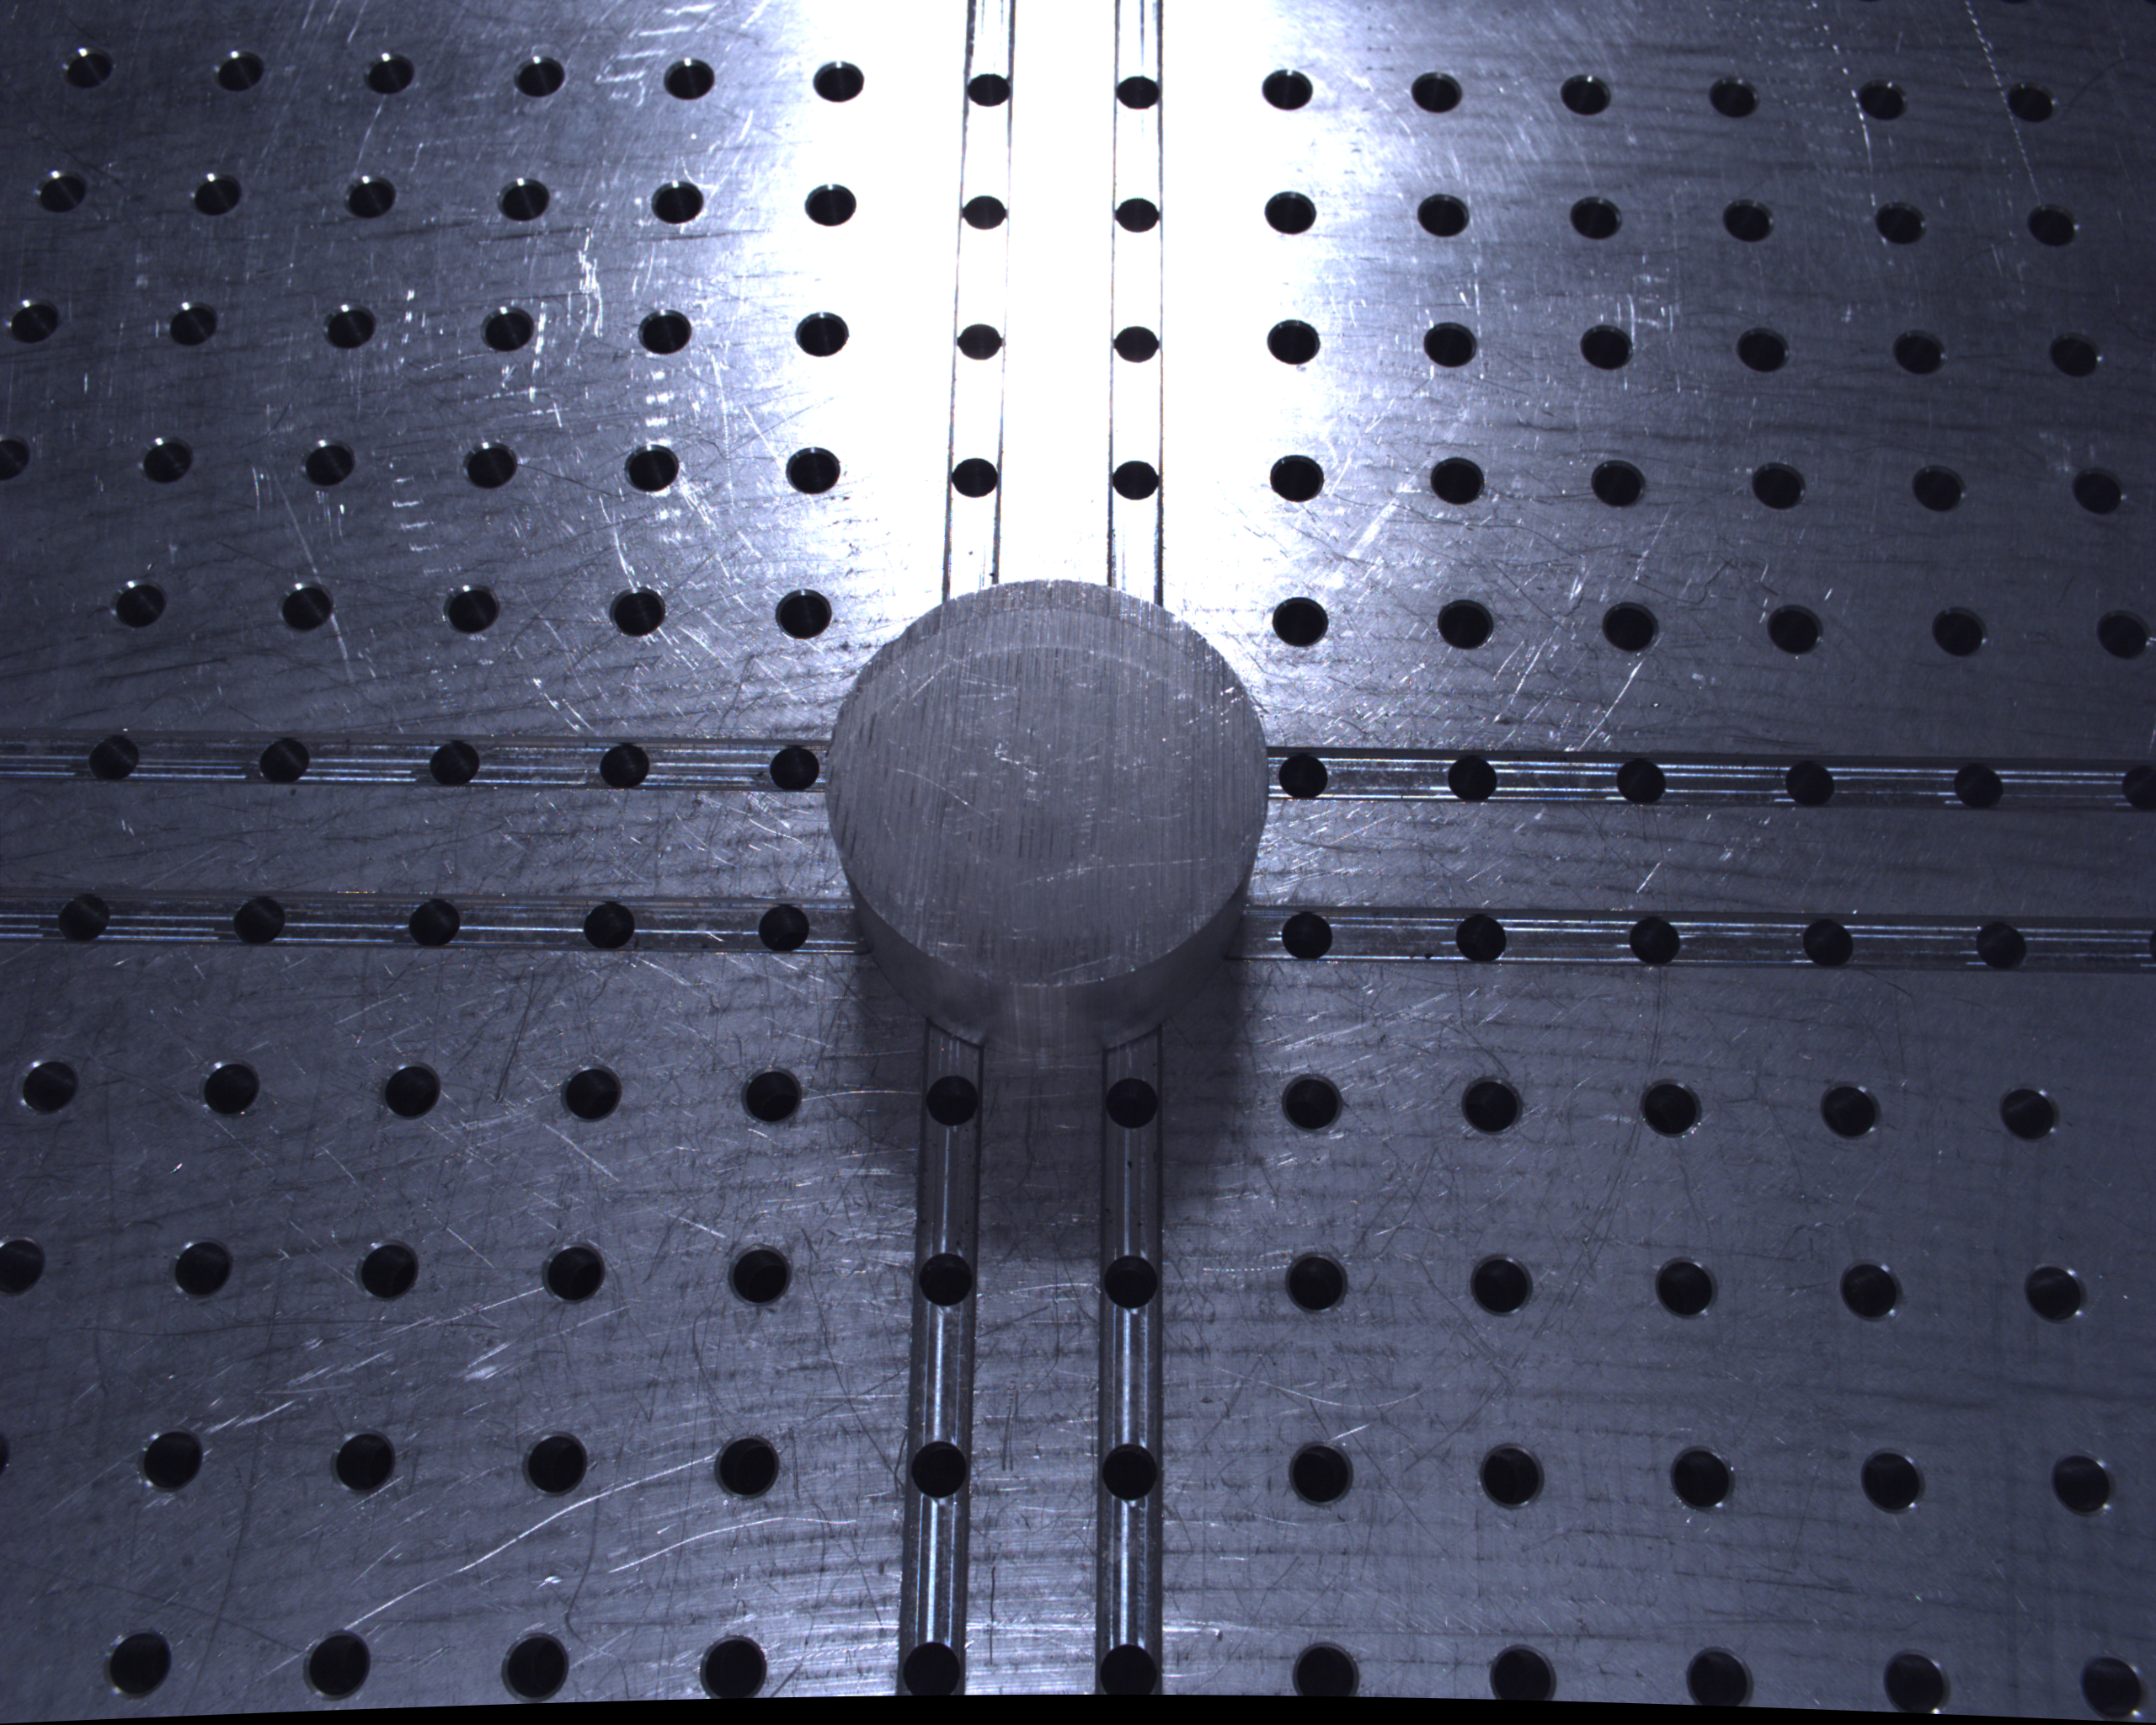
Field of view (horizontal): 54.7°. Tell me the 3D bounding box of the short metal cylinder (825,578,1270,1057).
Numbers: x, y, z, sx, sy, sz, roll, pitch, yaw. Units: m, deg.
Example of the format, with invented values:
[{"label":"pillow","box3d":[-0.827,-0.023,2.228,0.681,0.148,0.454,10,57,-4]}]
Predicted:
[{"label":"short metal cylinder","box3d":[-0.006,-0.008,0.401,0.081,0.050,0.080,0,70,0]}]
